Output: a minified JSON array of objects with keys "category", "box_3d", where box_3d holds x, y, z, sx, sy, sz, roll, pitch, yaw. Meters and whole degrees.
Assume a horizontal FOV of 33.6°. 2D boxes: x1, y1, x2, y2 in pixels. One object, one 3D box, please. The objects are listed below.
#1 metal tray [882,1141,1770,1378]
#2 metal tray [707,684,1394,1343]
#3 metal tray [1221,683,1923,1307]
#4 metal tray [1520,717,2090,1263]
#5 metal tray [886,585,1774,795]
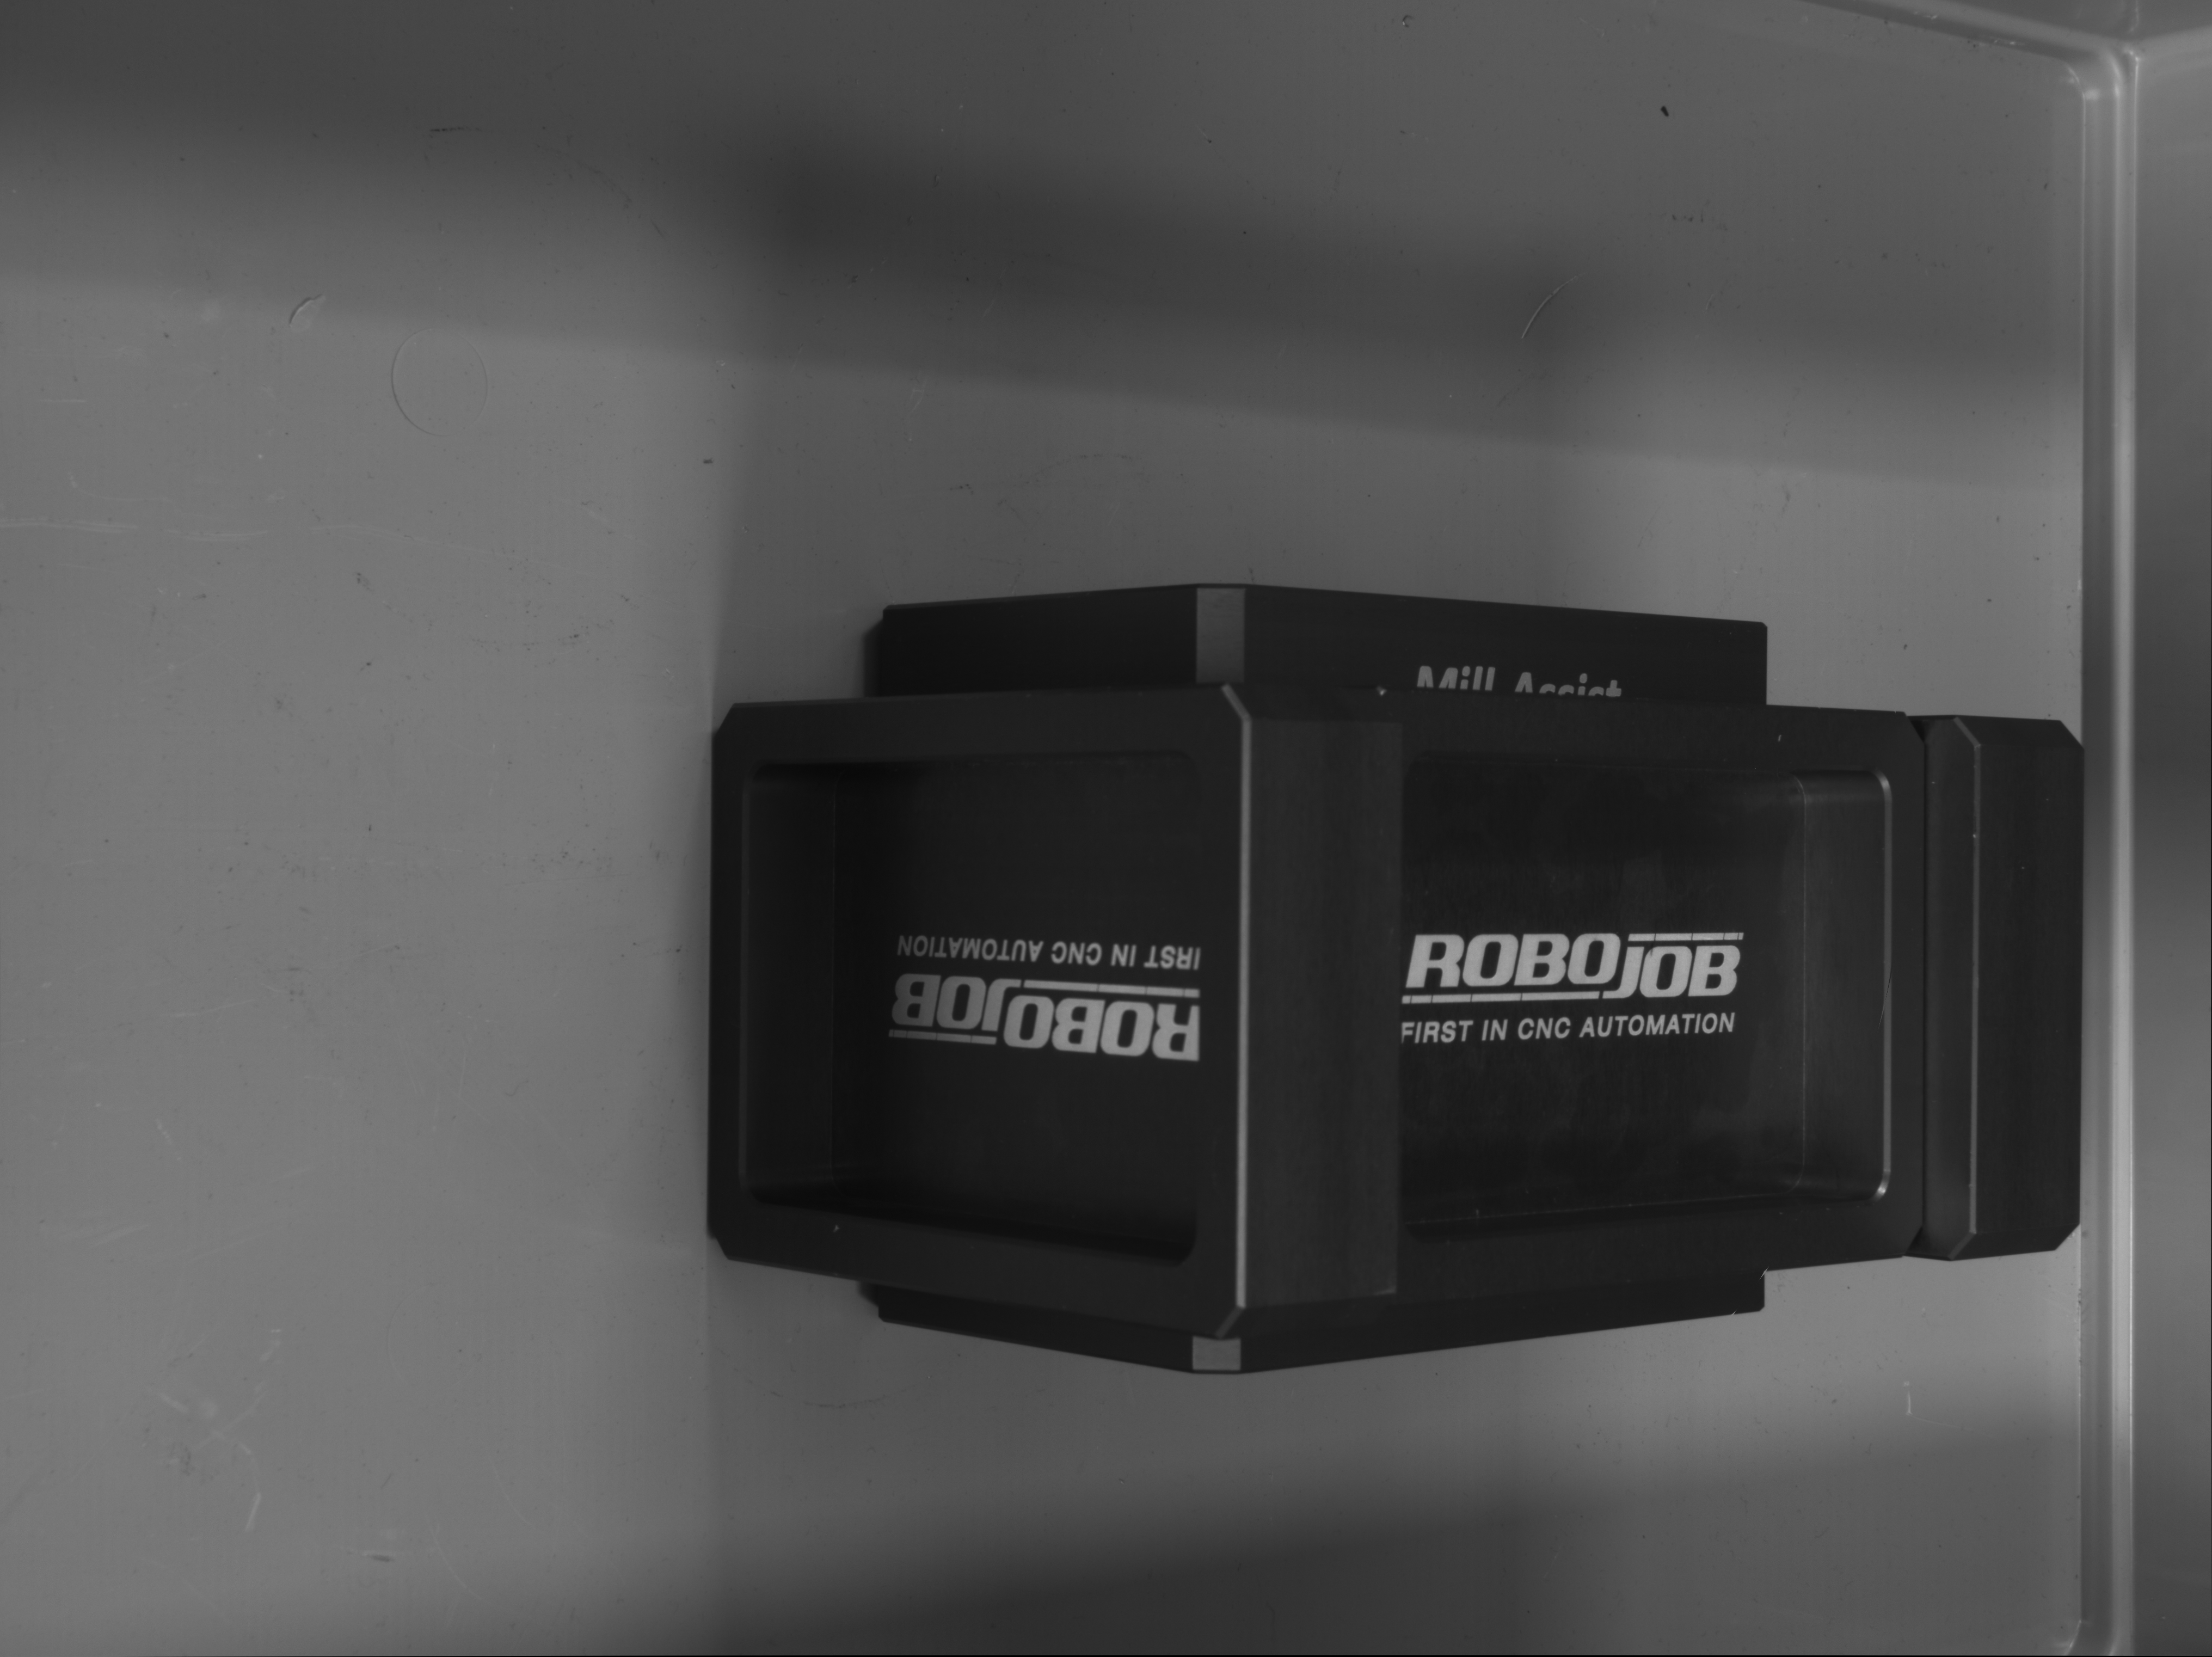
[{"category":"metal tray","box_3d":[0.038,0.068,0.622,0.131,0.090,0.030,0,89,-40]},{"category":"metal tray","box_3d":[-0.012,0.025,0.556,0.030,0.129,0.090,1,90,-40]},{"category":"metal tray","box_3d":[0.076,0.025,0.577,0.131,0.030,0.090,1,89,-40]},{"category":"metal tray","box_3d":[0.113,0.026,0.659,0.030,0.129,0.090,1,90,-40]},{"category":"metal tray","box_3d":[0.039,-0.022,0.623,0.131,0.090,0.030,1,90,-39]}]
